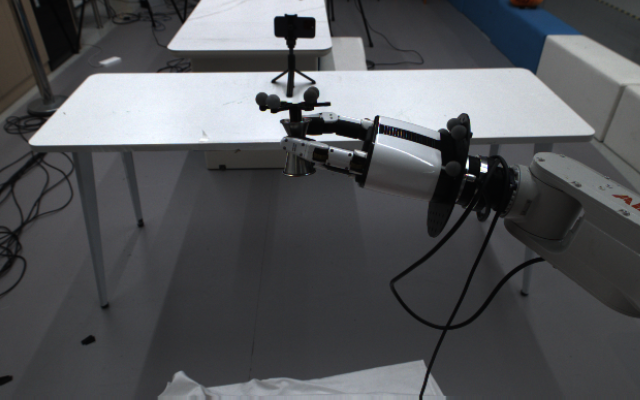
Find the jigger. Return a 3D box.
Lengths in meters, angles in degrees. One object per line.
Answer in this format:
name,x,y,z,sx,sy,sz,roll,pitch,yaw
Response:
jigger,-0.032,-0.069,0.615,0.043,0.071,0.043,-3,19,1
